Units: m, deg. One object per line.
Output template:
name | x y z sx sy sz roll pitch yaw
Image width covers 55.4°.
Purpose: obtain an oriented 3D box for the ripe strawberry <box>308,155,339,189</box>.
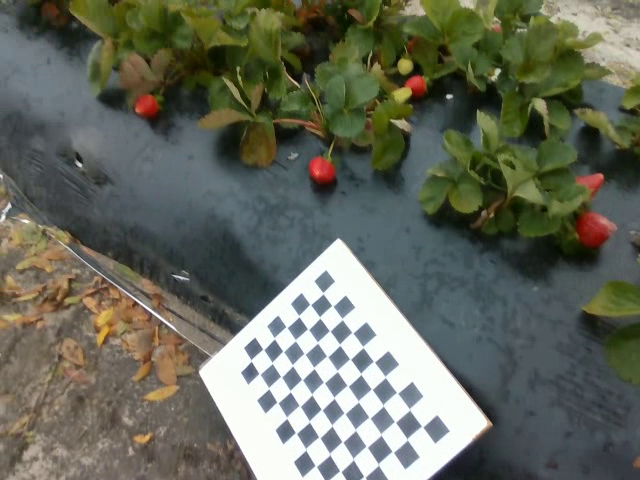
ripe strawberry | 0.007 -0.100 0.938 0.045 0.048 0.054 -6 26 24
